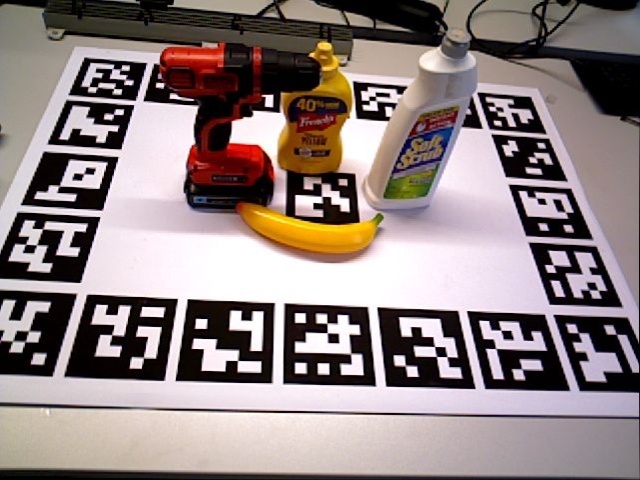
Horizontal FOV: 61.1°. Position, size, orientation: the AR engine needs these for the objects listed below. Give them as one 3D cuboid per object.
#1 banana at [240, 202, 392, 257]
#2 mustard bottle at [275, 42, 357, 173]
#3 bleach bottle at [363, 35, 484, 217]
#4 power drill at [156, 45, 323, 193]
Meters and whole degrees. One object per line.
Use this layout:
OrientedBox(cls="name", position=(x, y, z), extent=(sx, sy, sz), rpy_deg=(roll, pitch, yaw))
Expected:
OrientedBox(cls="banana", position=(-0.005, -0.015, 0.688), extent=(0.196, 0.039, 0.073), rpy_deg=(5, 57, -3))
OrientedBox(cls="mustard bottle", position=(-0.003, -0.174, 0.713), extent=(0.095, 0.196, 0.057), rpy_deg=(5, 52, -8))
OrientedBox(cls="bleach bottle", position=(0.129, -0.134, 0.676), extent=(0.101, 0.256, 0.067), rpy_deg=(-3, 54, -12))
OrientedBox(cls="power drill", position=(-0.099, -0.144, 0.651), extent=(0.183, 0.192, 0.056), rpy_deg=(3, 46, -11))
